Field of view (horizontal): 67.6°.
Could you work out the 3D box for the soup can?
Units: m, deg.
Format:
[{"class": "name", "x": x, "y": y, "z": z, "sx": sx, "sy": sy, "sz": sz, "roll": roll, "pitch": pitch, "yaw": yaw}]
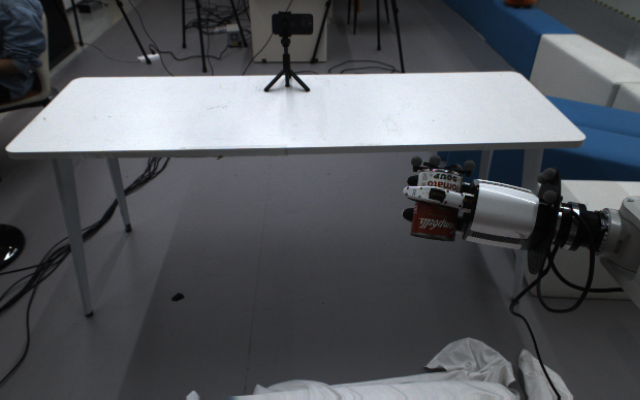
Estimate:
[{"class": "soup can", "x": 0.179, "y": 0.008, "z": 0.739, "sx": 0.067, "sy": 0.101, "sz": 0.067, "roll": 9, "pitch": -6, "yaw": 1}]
